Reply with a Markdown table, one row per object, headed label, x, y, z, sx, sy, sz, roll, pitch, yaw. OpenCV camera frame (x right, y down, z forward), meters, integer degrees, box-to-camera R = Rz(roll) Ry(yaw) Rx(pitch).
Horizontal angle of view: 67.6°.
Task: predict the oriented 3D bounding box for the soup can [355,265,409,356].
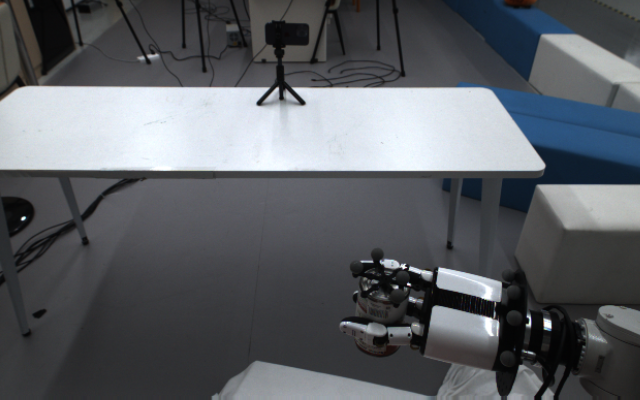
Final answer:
| label | x | y | z | sx | sy | sz | roll | pitch | yaw |
| --- | --- | --- | --- | --- | --- | --- | --- | --- | --- |
| soup can | 0.084 | 0.150 | 0.645 | 0.067 | 0.101 | 0.067 | 2 | 32 | -1 |
